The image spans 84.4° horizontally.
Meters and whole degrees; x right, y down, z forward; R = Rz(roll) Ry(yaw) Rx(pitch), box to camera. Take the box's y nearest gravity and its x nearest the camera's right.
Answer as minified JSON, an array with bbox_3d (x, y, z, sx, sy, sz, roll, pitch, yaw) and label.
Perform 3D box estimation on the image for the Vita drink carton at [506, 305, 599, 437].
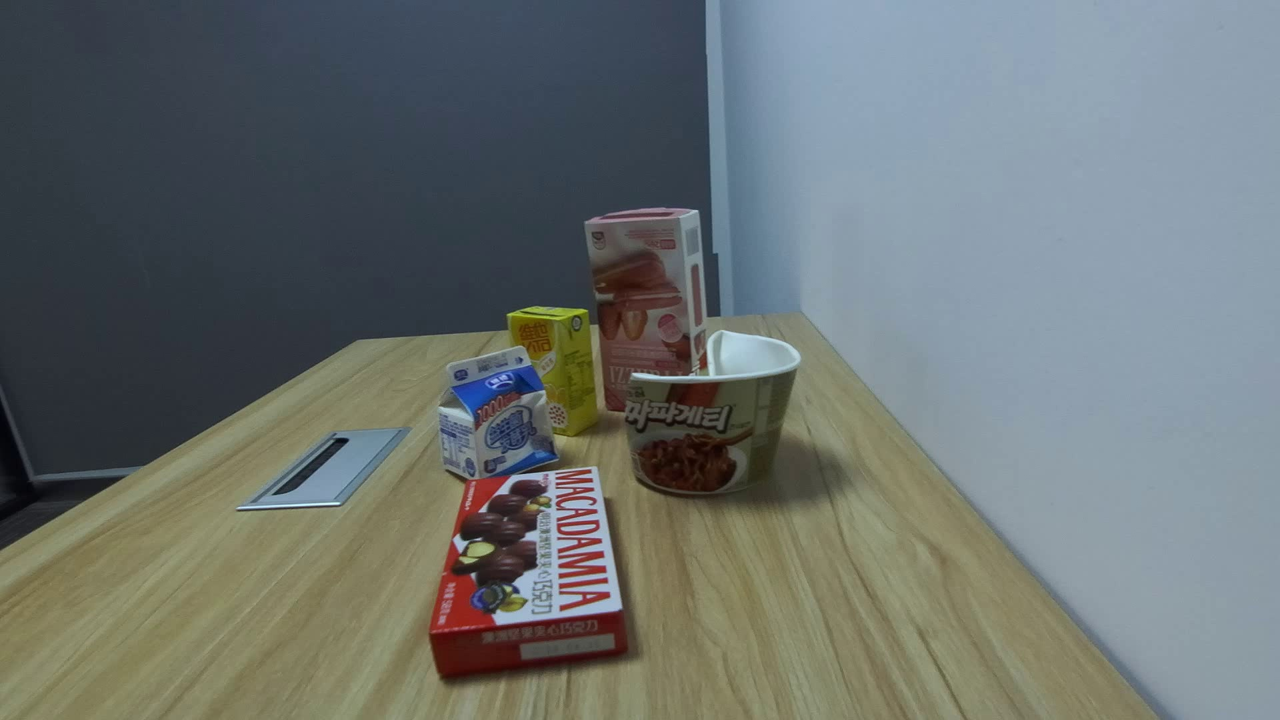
[{"bbox_3d":[-0.078,0.009,0.647,0.066,0.109,0.044,7,20,35],"label":"Vita drink carton"}]

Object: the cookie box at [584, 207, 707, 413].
[{"bbox_3d":[0.006,-0.043,0.658,0.105,0.187,0.049,3,18,26],"label":"cookie box"}]

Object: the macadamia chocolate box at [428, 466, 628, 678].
[{"bbox_3d":[-0.064,0.115,0.423,0.096,0.027,0.177,-5,15,-6],"label":"macadamia chocolate box"}]

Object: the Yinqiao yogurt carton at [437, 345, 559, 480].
[{"bbox_3d":[-0.116,0.042,0.569,0.078,0.094,0.070,-15,14,-35],"label":"Yinqiao yogurt carton"}]

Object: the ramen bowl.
[{"bbox_3d":[0.049,0.039,0.526,0.137,0.098,0.137,-6,18,2],"label":"ramen bowl"}]
